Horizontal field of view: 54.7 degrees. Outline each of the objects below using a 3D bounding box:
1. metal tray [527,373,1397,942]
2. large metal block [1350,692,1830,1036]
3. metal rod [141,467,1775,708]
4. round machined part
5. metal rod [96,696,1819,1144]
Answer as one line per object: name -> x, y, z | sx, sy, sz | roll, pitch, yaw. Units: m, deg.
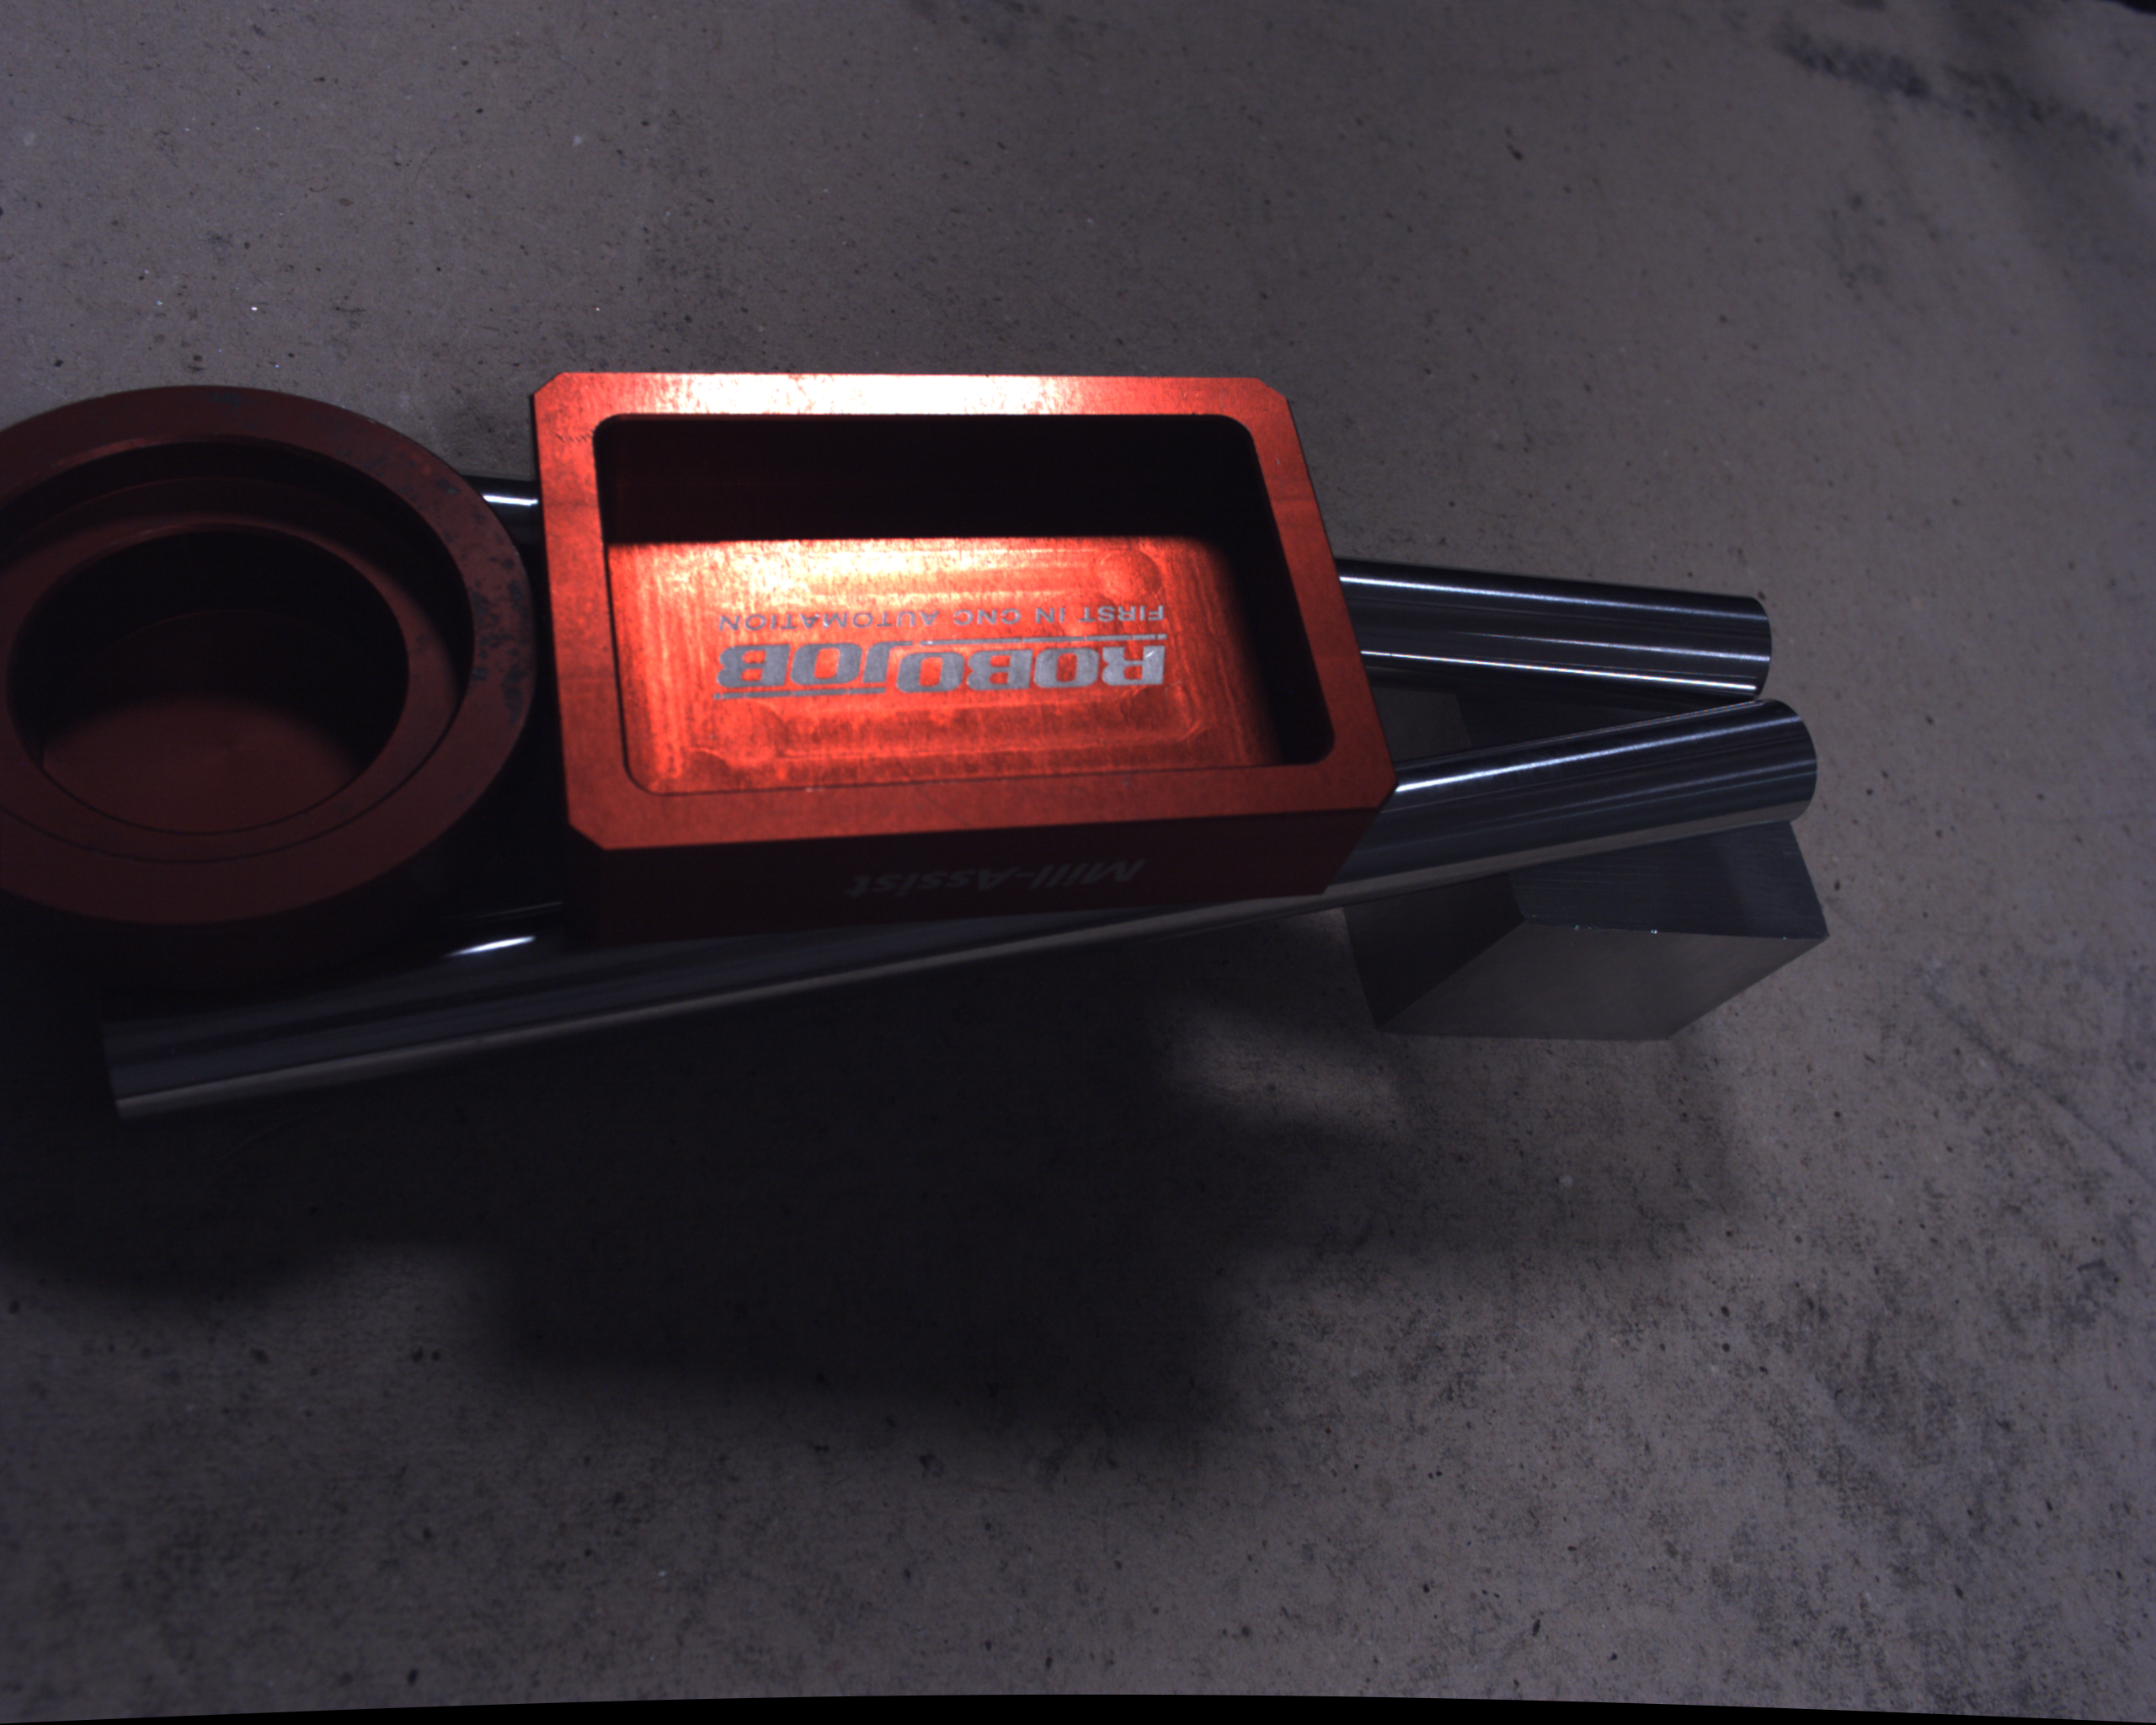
metal tray -> -0.022, -0.037, 0.348 | 0.131, 0.030, 0.090 | -3, 63, -16
large metal block -> 0.103, -0.010, 0.451 | 0.081, 0.050, 0.080 | 4, 60, -27
metal rod -> -0.013, -0.051, 0.389 | 0.302, 0.025, 0.025 | 3, 60, -12
round machined part -> -0.136, -0.024, 0.329 | 0.099, 0.042, 0.098 | 7, 60, -13
metal rod -> -0.003, 0.005, 0.361 | 0.303, 0.025, 0.025 | -10, 67, -19
